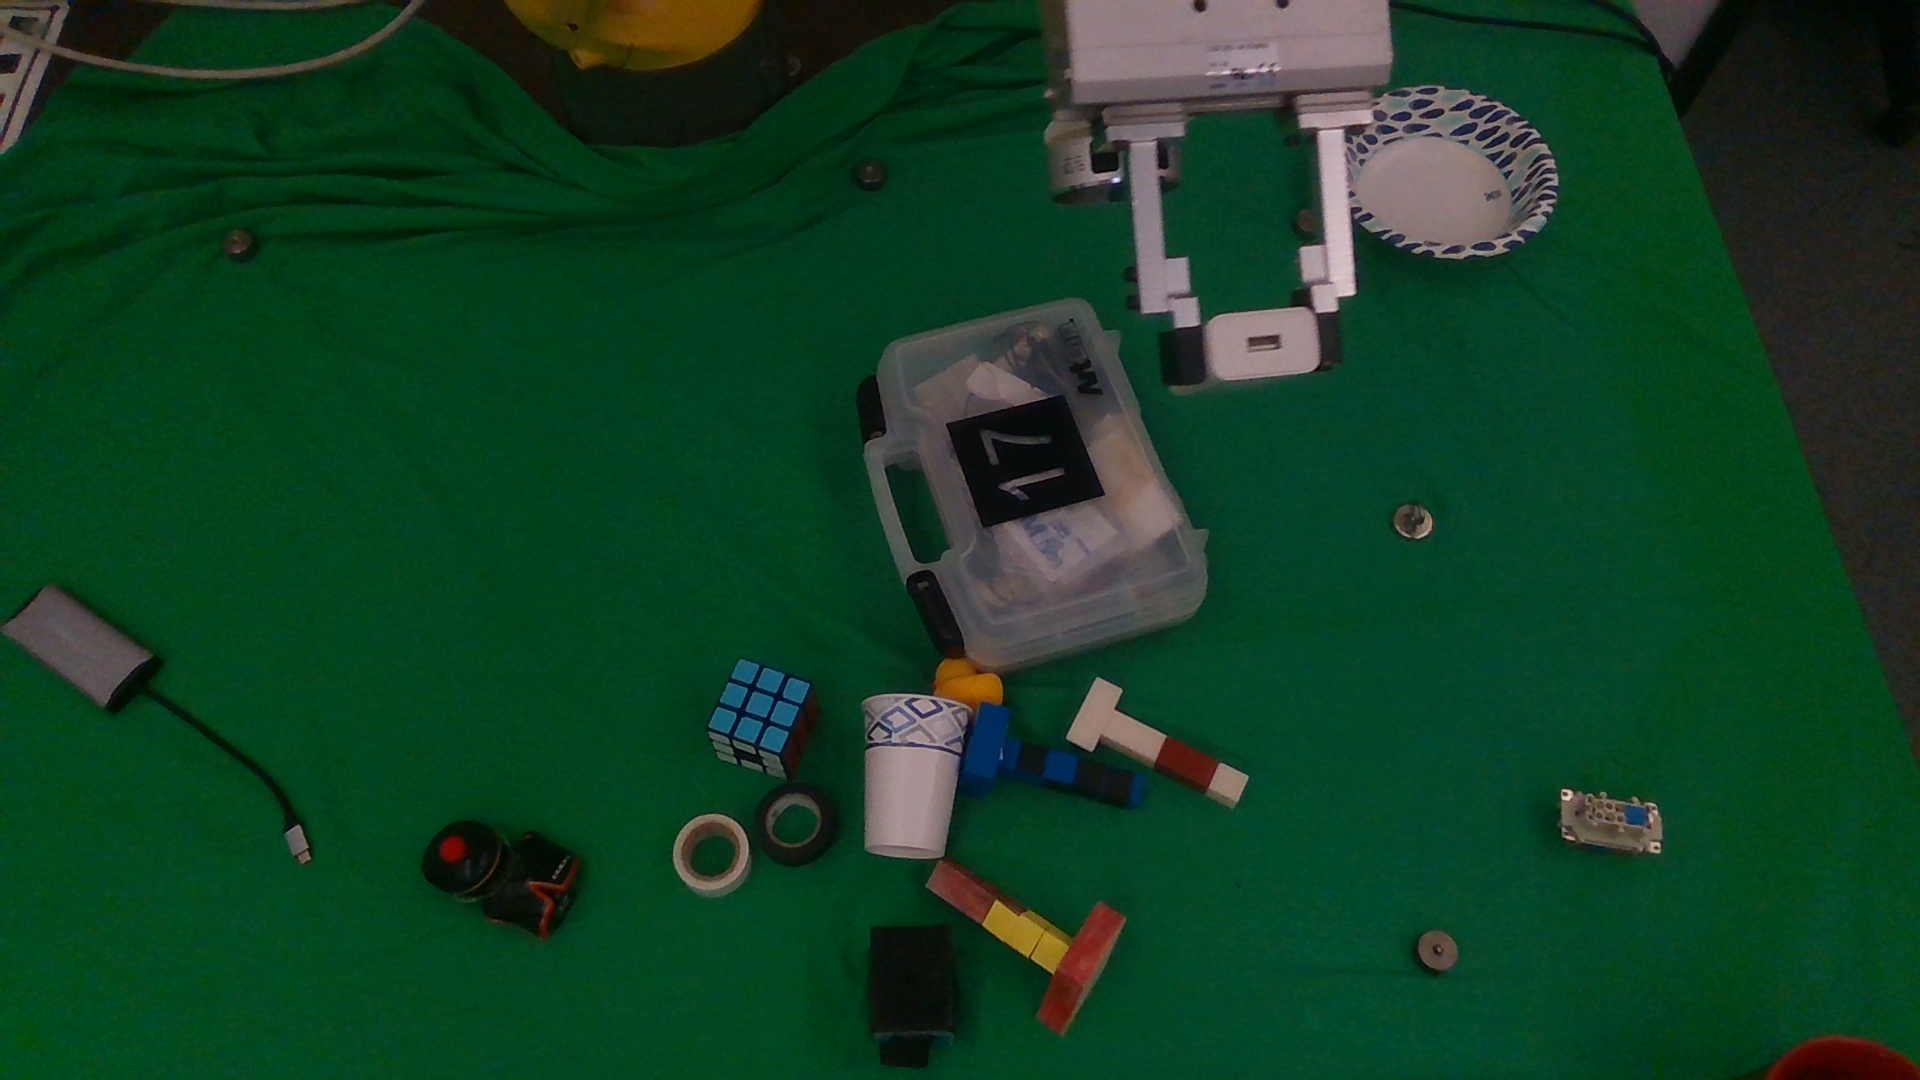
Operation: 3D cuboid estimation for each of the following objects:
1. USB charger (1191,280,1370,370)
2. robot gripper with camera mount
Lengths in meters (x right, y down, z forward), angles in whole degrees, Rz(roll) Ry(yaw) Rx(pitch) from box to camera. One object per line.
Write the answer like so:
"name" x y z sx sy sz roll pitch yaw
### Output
"USB charger" 0.118 -0.083 0.537 0.044 0.076 0.029 -17 102 -23
"robot gripper with camera mount" 0.096 -0.160 0.587 0.119 0.193 0.158 -11 96 -9
